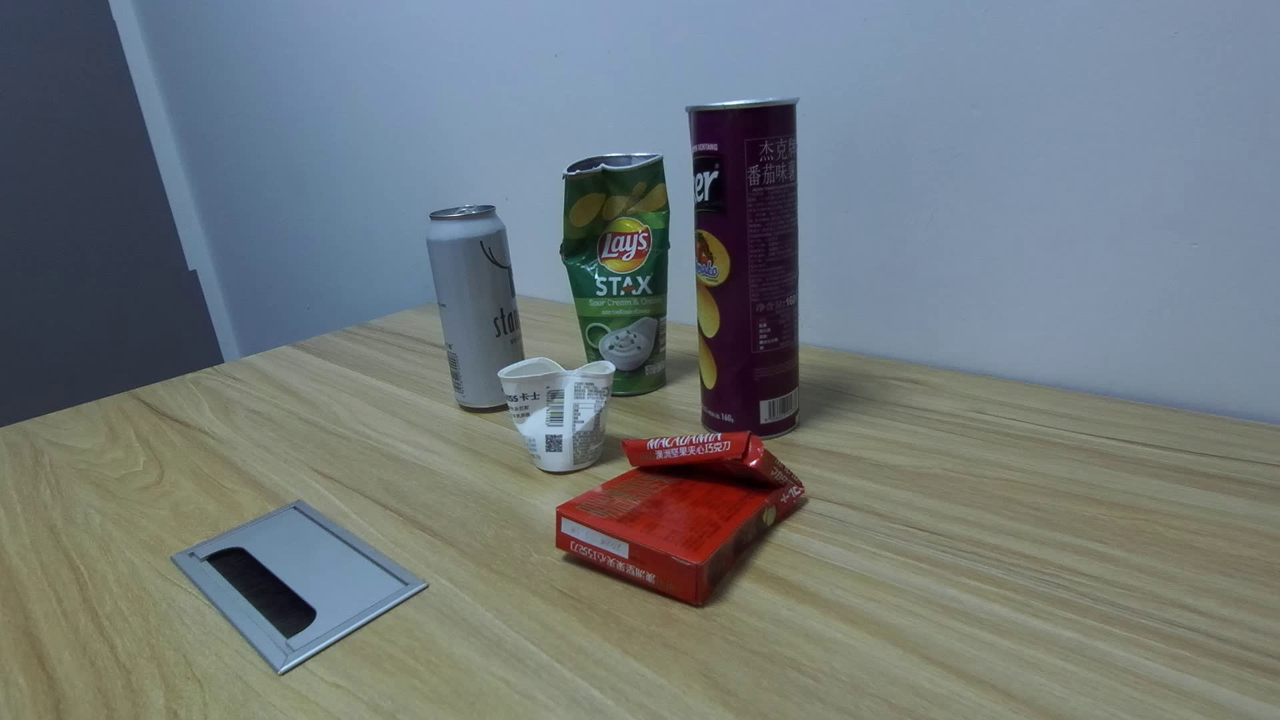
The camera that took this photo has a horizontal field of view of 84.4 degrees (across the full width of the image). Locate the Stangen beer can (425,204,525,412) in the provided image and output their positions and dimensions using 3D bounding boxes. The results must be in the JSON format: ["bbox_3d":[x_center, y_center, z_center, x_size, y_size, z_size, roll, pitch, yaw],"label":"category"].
[{"bbox_3d":[-0.138,-0.044,0.614,0.067,0.171,0.067,-5,17,2],"label":"Stangen beer can"}]

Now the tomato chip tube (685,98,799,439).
[{"bbox_3d":[0.077,-0.062,0.511,0.076,0.234,0.080,-2,19,9],"label":"tomato chip tube"}]

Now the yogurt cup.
[{"bbox_3d":[-0.056,0.037,0.507,0.075,0.071,0.053,-12,22,-14],"label":"yogurt cup"}]

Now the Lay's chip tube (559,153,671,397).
[{"bbox_3d":[-0.017,-0.072,0.613,0.077,0.201,0.069,-18,23,-25],"label":"Lay's chip tube"}]

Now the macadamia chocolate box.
[{"bbox_3d":[0.019,0.083,0.418,0.111,0.056,0.127,-9,16,40],"label":"macadamia chocolate box"}]
